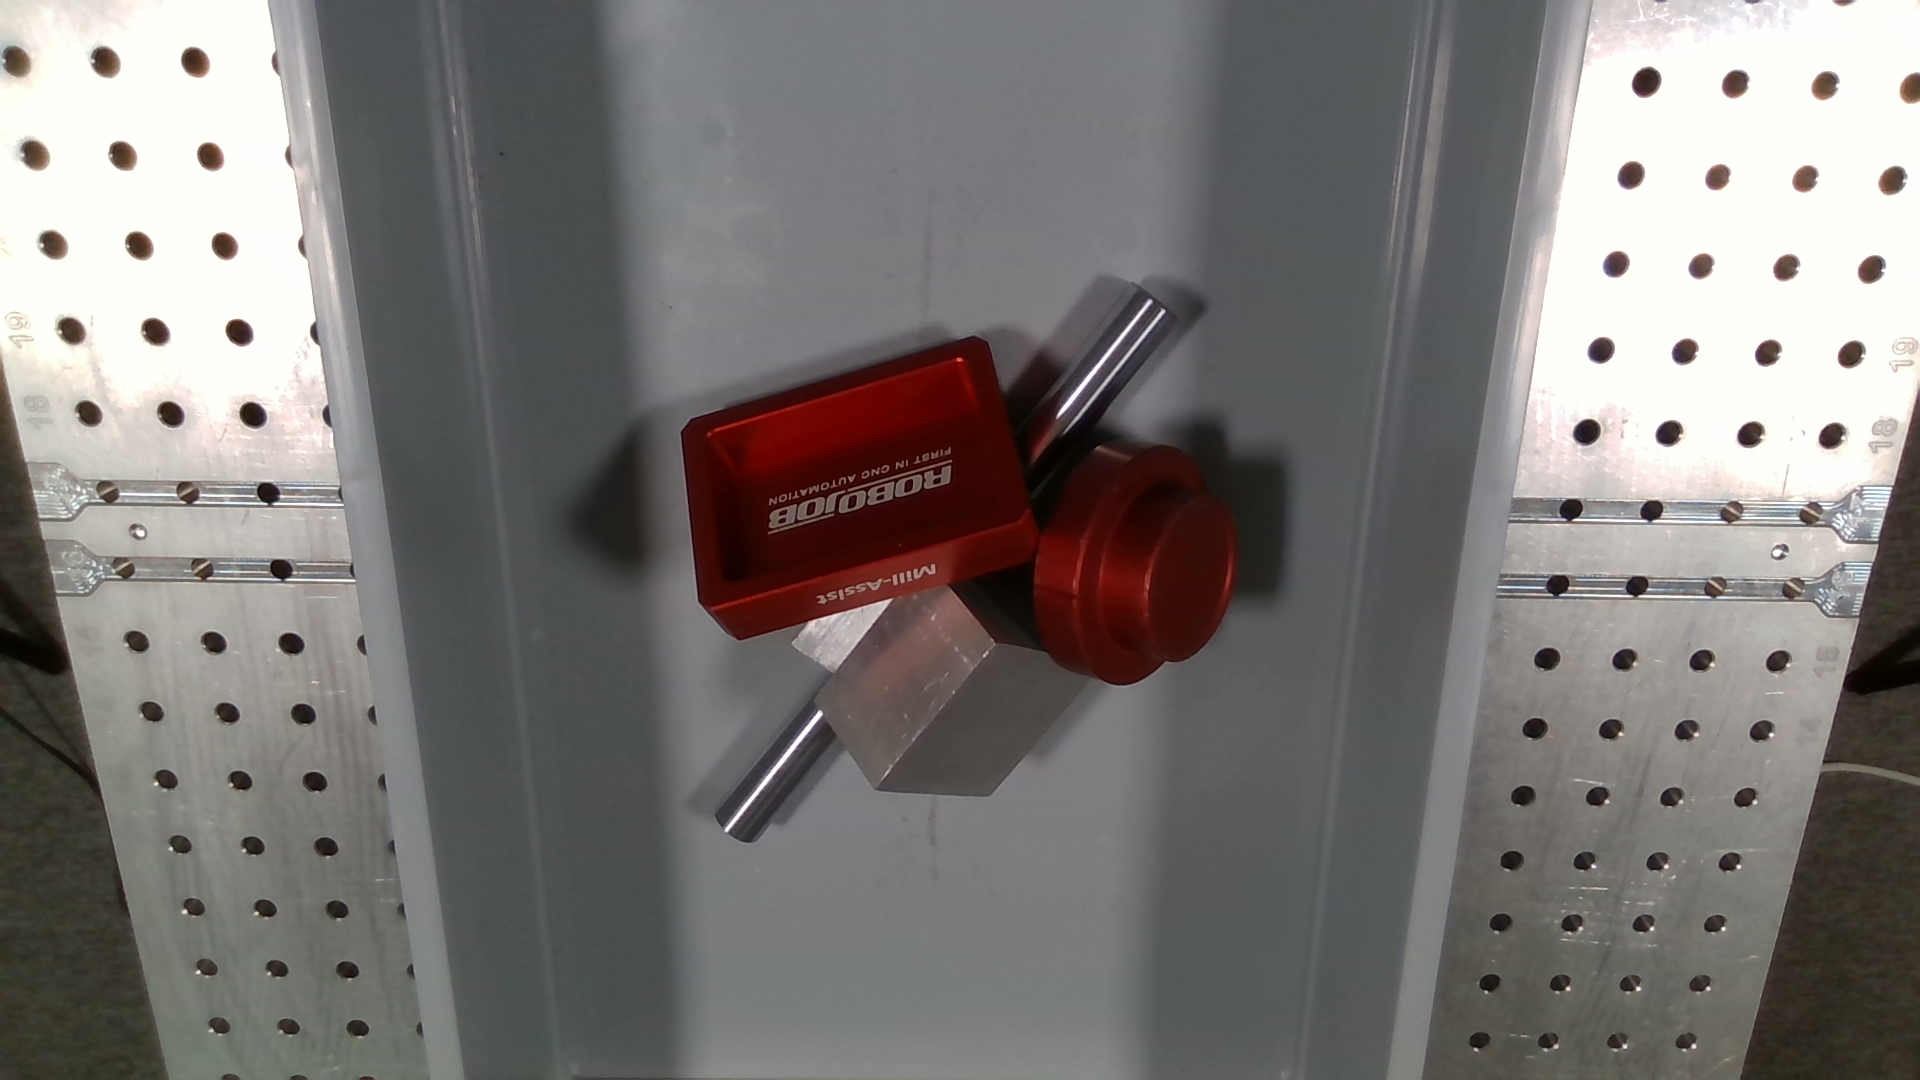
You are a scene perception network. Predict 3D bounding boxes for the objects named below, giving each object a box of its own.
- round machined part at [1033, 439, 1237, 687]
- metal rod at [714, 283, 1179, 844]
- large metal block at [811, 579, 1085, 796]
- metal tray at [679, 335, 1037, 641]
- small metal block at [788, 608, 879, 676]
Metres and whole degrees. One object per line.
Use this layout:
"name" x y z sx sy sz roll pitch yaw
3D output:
"round machined part" 0.075 0.011 0.547 0.042 0.098 0.098 15 116 38
"metal rod" -0.012 0.017 0.590 0.025 0.025 0.300 35 107 -12
"large metal block" 0.000 0.059 0.571 0.080 0.050 0.080 -51 145 16
"metal tray" -0.041 -0.021 0.543 0.130 0.090 0.030 -16 150 6
"small metal block" -0.044 0.023 0.578 0.025 0.050 0.050 36 106 -12
